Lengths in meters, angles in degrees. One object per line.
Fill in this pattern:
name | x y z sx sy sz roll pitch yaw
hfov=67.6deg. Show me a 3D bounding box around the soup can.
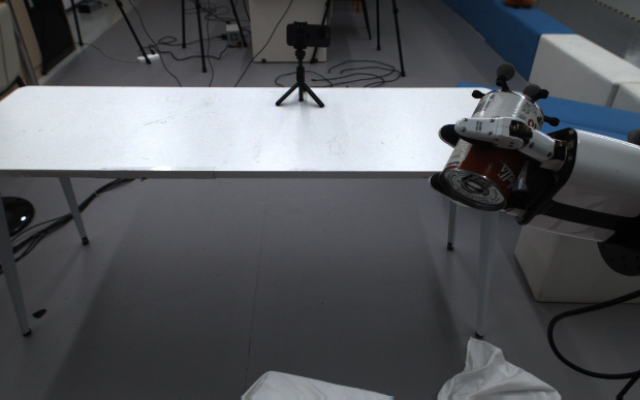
soup can | 0.172 -0.050 0.478 0.067 0.067 0.101 22 71 26
